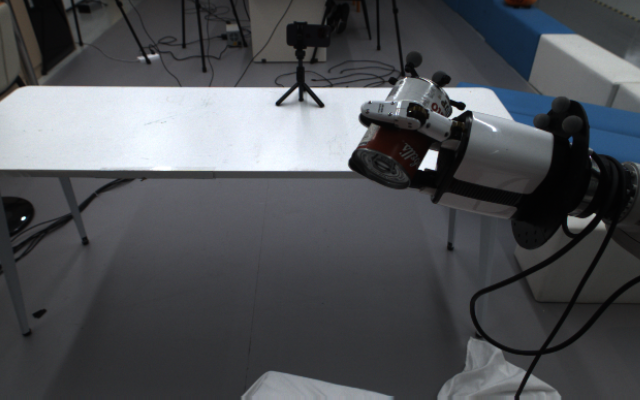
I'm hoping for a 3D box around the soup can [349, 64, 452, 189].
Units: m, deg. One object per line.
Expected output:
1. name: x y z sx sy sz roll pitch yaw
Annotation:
1. soup can: 0.089 -0.072 0.511 0.067 0.067 0.101 22 71 27
